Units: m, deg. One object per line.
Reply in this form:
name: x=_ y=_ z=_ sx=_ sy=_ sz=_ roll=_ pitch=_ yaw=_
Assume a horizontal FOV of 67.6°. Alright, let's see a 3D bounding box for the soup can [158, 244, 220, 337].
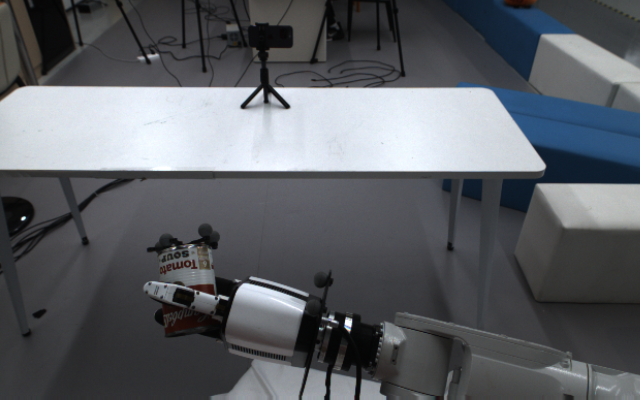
soup can: x=-0.160 y=0.112 z=0.595 sx=0.067 sy=0.067 sz=0.101 roll=-8 pitch=73 yaw=-14
